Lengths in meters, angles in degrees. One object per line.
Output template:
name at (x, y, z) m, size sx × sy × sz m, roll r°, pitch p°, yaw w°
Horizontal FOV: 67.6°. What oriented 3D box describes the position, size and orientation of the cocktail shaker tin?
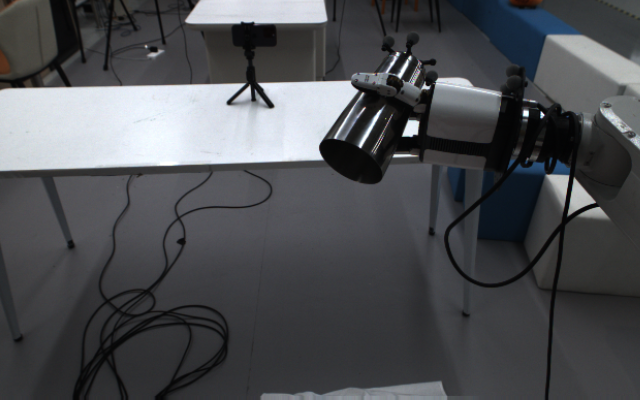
cocktail shaker tin at (0.081, -0.121, 0.649) m, size 0.093 × 0.093 × 0.170 m, roll 20°, pitch 67°, yaw 24°
